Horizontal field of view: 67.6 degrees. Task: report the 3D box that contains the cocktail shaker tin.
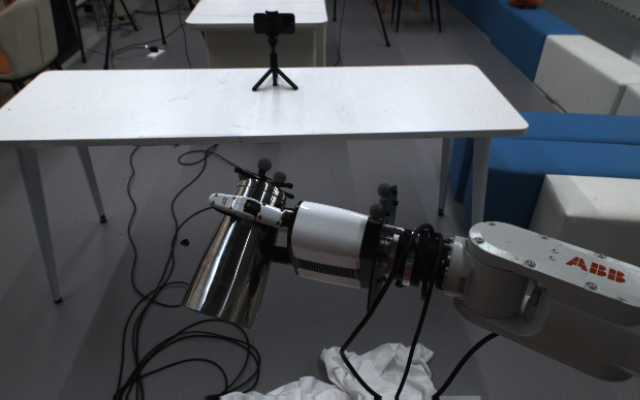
[{"bbox_3d":[-0.098,0.062,0.602,0.093,0.093,0.170,13,71,16],"label":"cocktail shaker tin"}]
